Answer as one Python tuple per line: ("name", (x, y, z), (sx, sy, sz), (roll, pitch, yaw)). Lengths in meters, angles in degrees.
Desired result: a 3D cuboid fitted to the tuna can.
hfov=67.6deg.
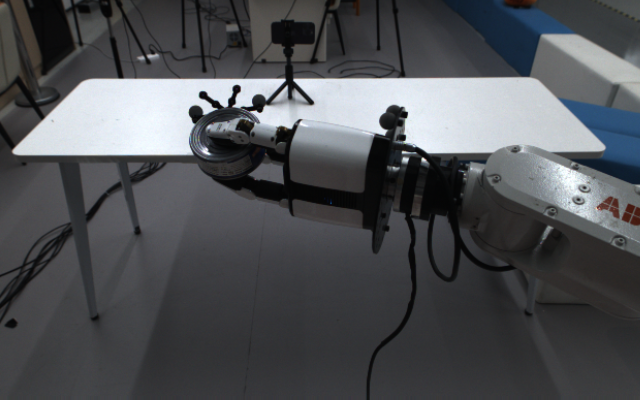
("tuna can", (-0.103, -0.061, 0.566), (0.085, 0.034, 0.085), (-3, 61, 5))
